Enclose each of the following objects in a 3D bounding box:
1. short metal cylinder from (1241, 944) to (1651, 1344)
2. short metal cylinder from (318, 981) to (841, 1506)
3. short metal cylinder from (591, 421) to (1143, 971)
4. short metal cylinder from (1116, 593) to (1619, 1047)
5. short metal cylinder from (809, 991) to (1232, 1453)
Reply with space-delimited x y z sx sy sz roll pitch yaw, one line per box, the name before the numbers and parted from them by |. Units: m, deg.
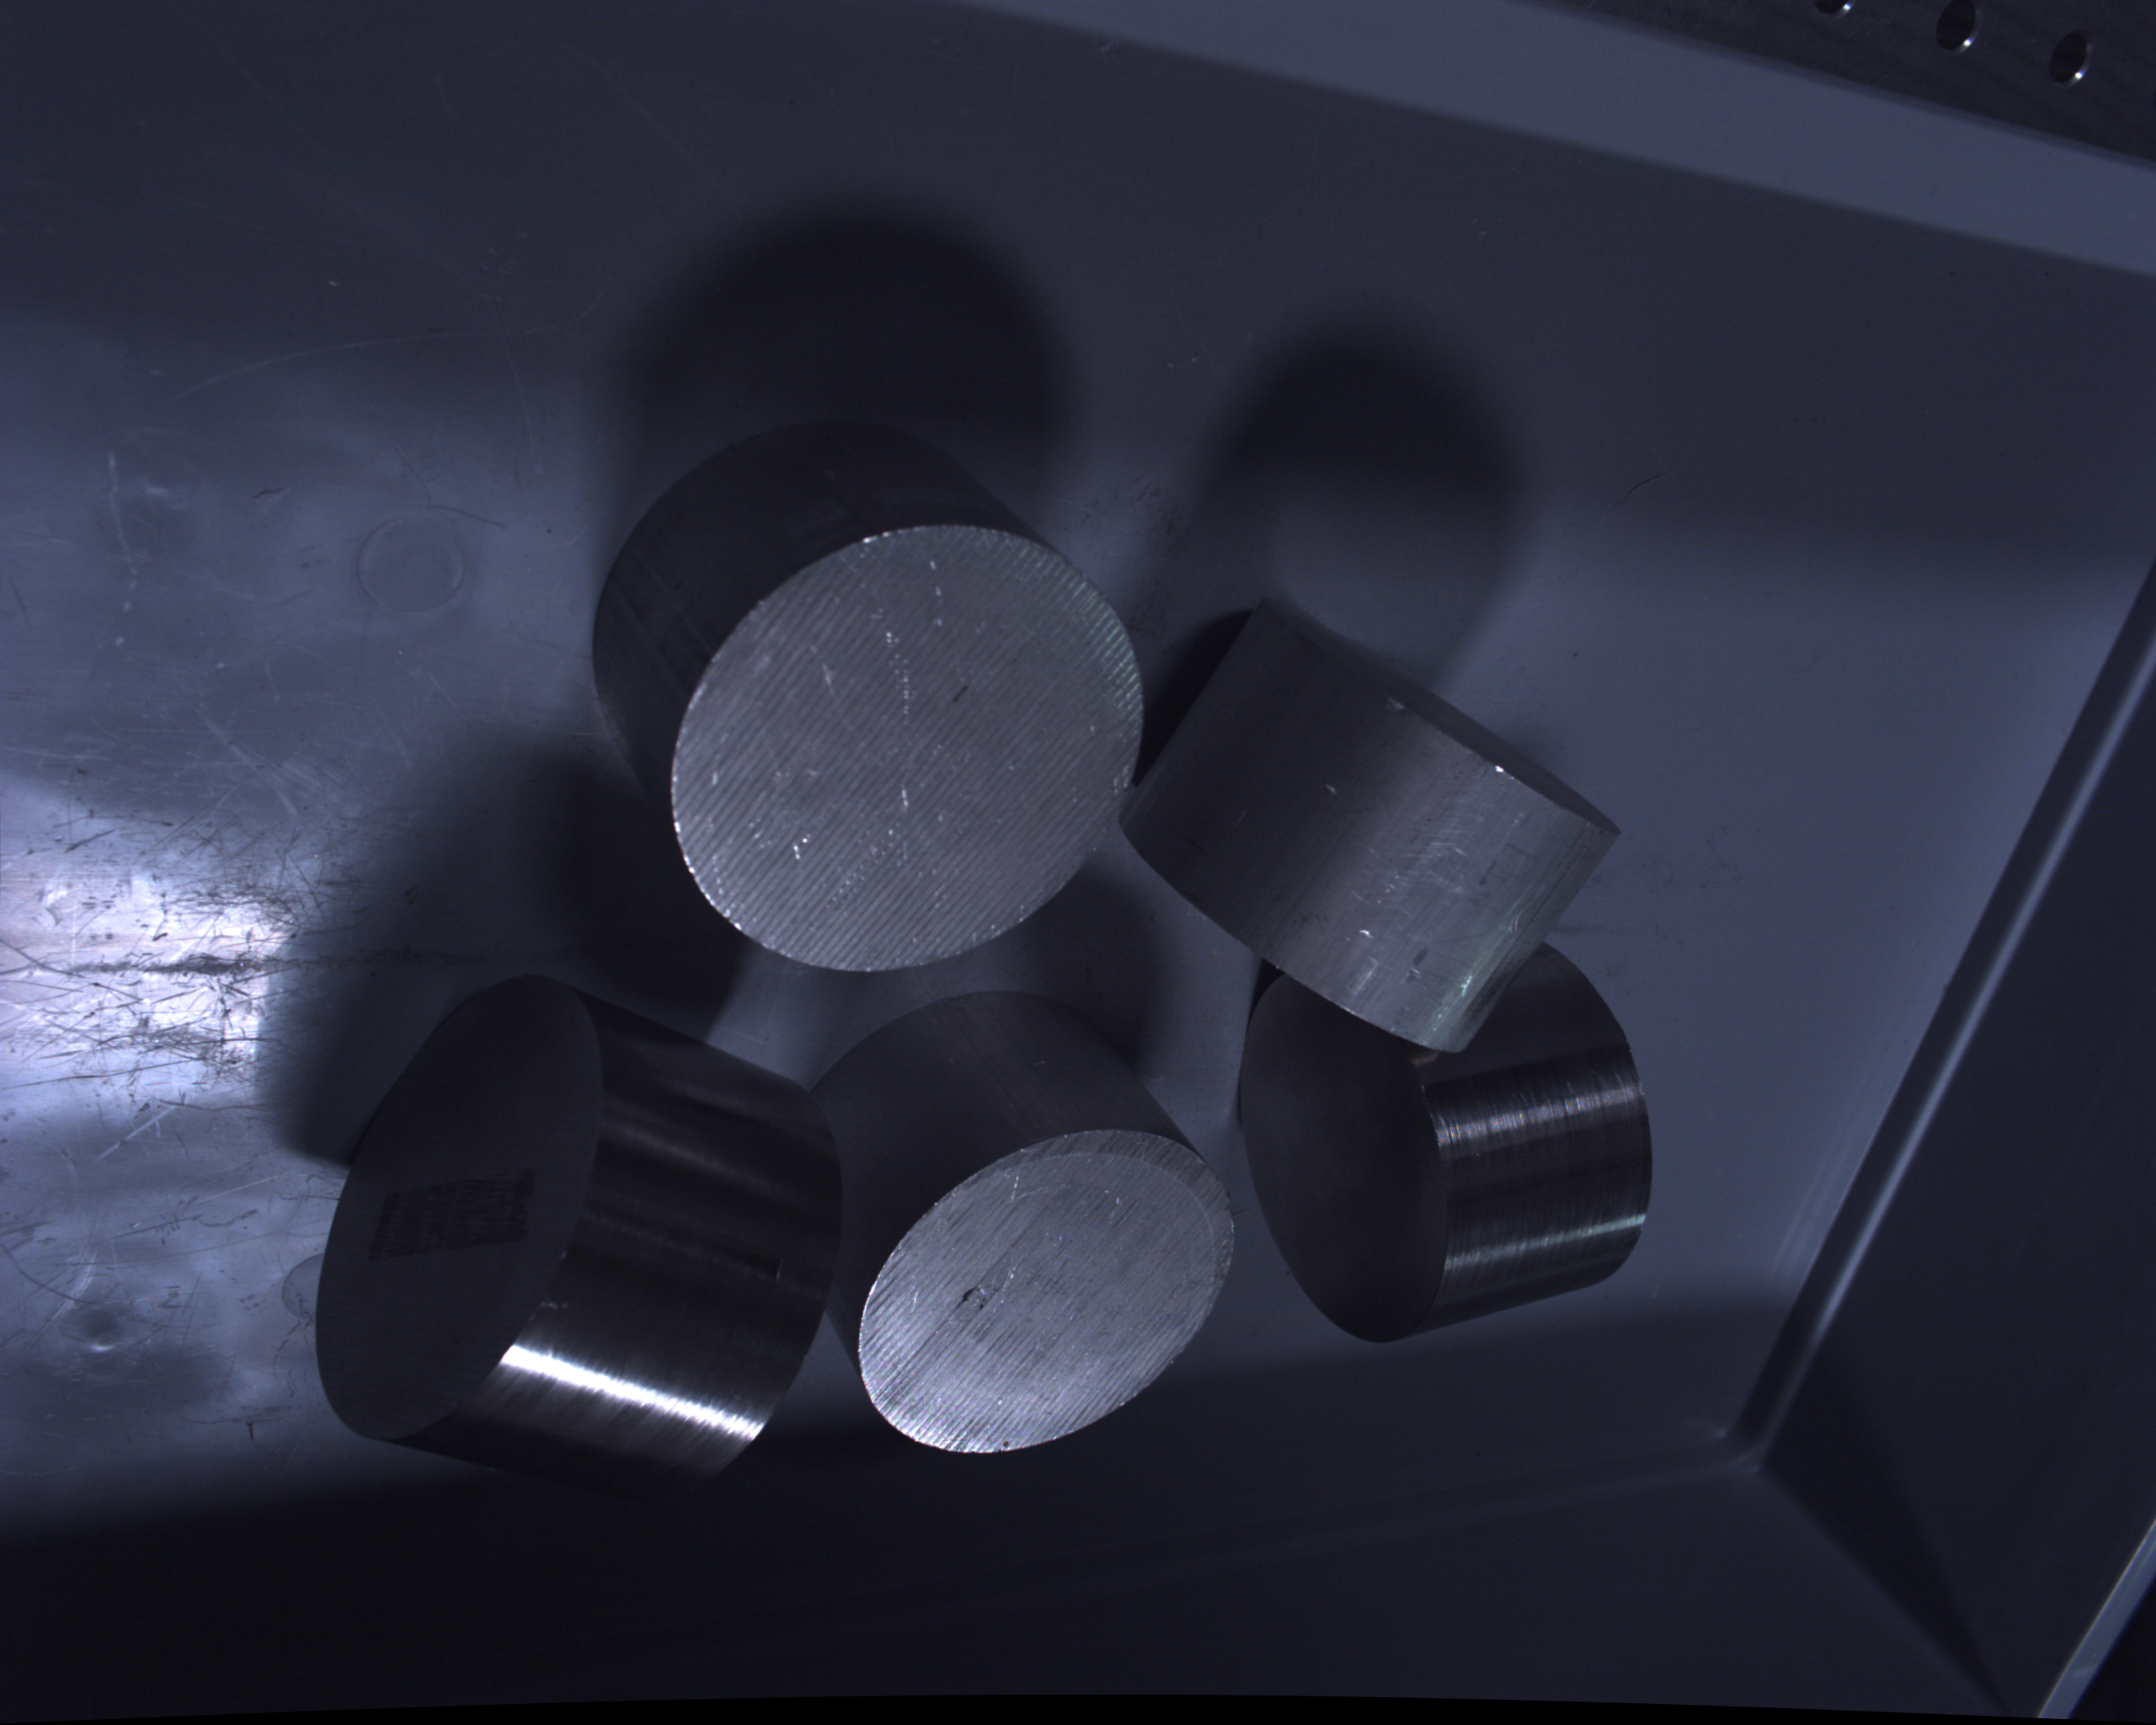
short metal cylinder | 0.077 0.059 0.451 0.050 0.080 0.079 -9 122 -24
short metal cylinder | -0.087 0.067 0.365 0.050 0.080 0.080 31 101 -38
short metal cylinder | -0.036 -0.029 0.354 0.081 0.050 0.079 -14 125 -21
short metal cylinder | 0.055 -0.009 0.399 0.080 0.080 0.050 24 105 -37
short metal cylinder | -0.016 0.073 0.429 0.081 0.050 0.079 -14 125 -21
